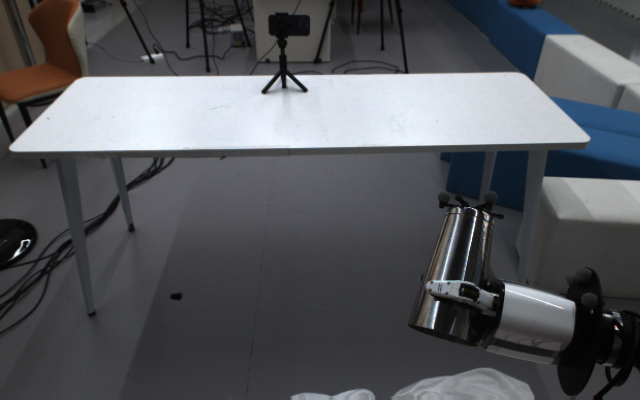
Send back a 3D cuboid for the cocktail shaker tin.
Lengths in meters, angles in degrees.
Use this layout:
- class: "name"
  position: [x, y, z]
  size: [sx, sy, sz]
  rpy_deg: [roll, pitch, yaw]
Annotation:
- class: "cocktail shaker tin"
  position: [0.187, 0.101, 0.653]
  size: [0.093, 0.093, 0.170]
  rpy_deg: [12, 74, 14]
